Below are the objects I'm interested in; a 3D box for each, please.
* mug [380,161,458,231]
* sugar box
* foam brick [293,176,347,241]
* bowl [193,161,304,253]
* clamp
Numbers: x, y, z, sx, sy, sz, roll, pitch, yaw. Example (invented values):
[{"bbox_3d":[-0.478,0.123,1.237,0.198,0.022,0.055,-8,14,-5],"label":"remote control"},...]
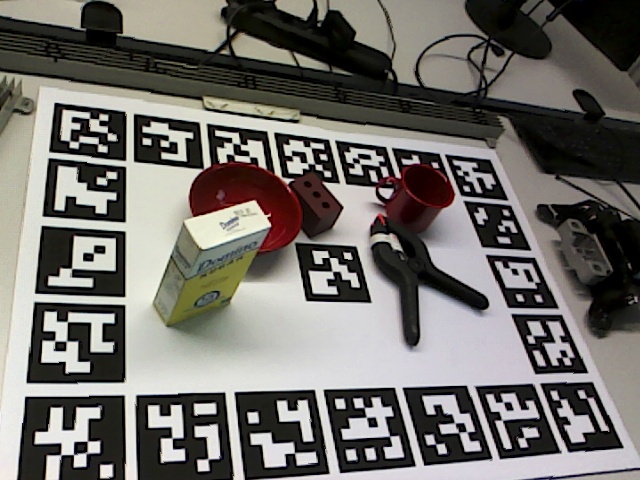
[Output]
[{"bbox_3d":[0.153,-0.073,1.008,0.117,0.081,0.093,26,48,-8],"label":"mug"},{"bbox_3d":[-0.131,0.034,0.738,0.092,0.176,0.045,-21,67,-36],"label":"sugar box"},{"bbox_3d":[-0.007,-0.048,0.948,0.052,0.051,0.078,-24,68,-35],"label":"foam brick"},{"bbox_3d":[-0.107,-0.036,0.884,0.161,0.055,0.162,13,50,-16],"label":"bowl"},{"bbox_3d":[0.140,0.041,0.938,0.164,0.037,0.203,-20,65,-32],"label":"clamp"}]
